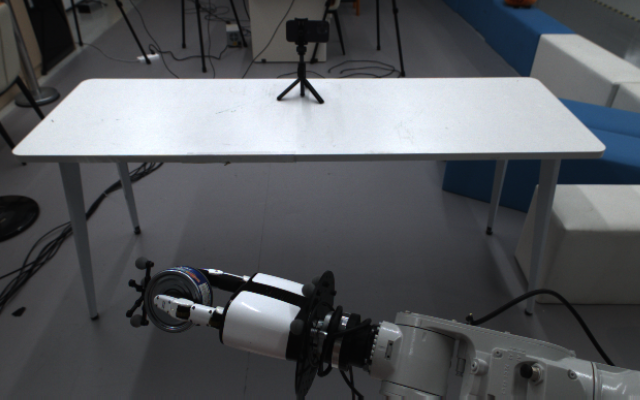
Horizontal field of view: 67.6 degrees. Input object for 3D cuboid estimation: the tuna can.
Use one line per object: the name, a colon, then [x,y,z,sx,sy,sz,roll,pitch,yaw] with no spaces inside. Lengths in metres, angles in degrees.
tuna can: [-0.186,0.132,0.645,0.085,0.085,0.034,10,3,11]
